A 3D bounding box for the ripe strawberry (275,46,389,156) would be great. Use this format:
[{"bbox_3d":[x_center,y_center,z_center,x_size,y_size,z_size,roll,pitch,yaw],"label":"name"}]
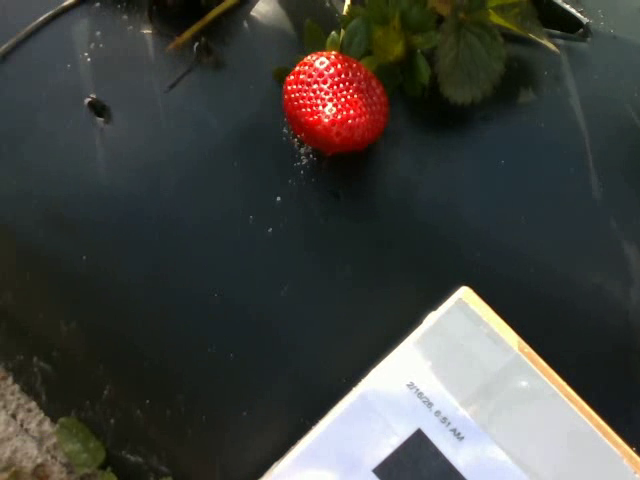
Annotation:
[{"bbox_3d":[0.005,-0.036,0.147,0.037,0.034,0.039,-36,11,29],"label":"ripe strawberry"}]
